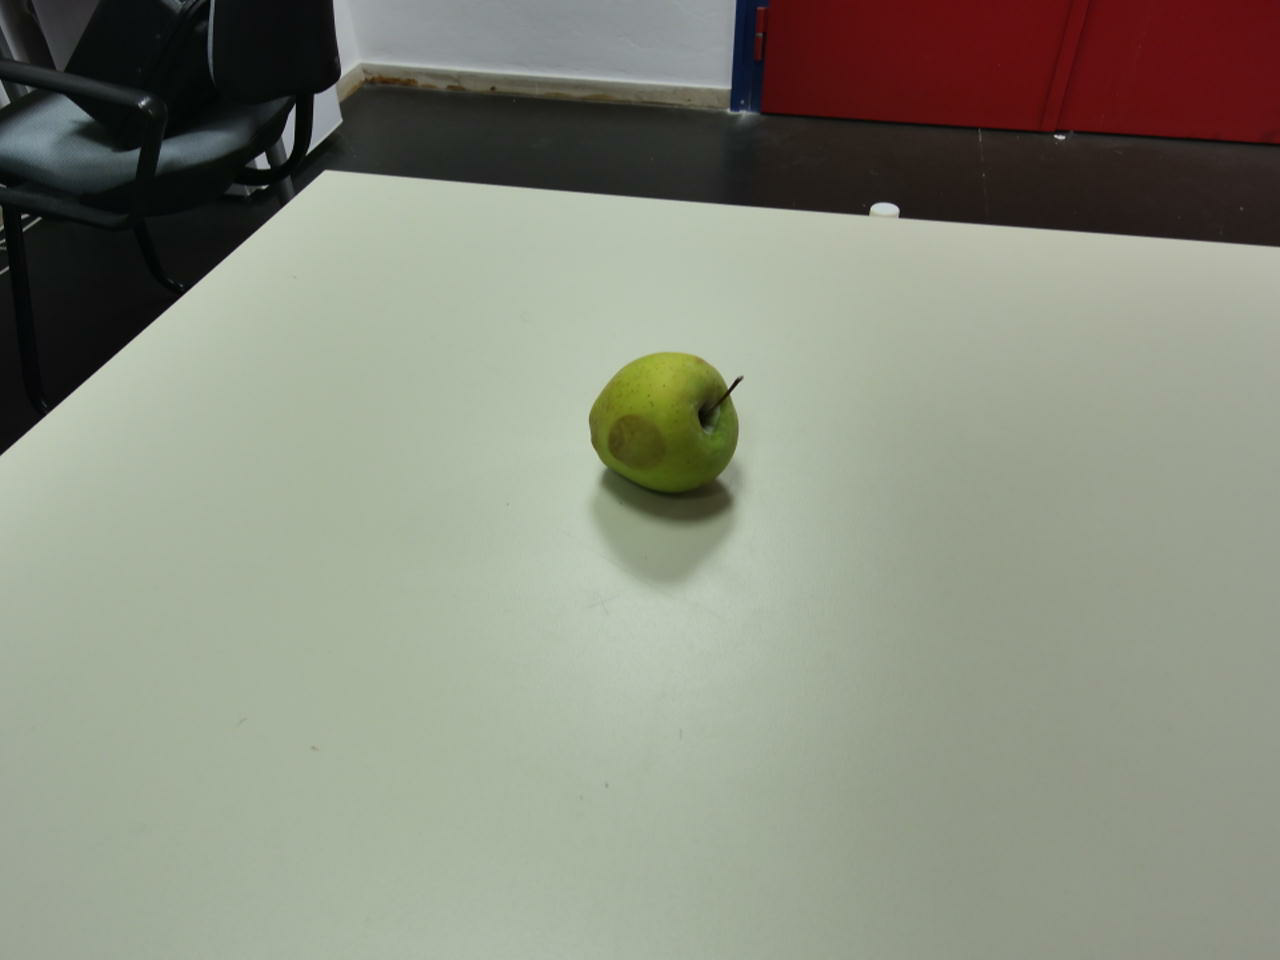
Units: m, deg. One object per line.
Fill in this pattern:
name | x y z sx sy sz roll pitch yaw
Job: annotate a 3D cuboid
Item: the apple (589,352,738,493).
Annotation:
apple | 0.013 -0.032 0.533 0.072 0.075 0.077 -23 44 -25
